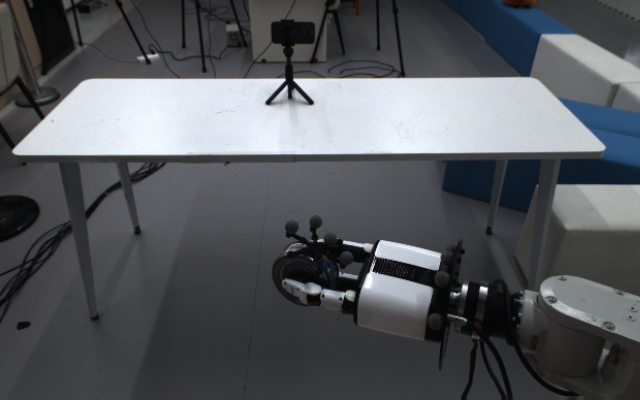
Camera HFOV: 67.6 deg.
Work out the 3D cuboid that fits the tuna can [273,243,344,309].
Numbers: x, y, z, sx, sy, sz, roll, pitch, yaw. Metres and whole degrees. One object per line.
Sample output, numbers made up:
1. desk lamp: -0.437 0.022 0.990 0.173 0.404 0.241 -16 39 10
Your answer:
1. tuna can: -0.016 0.105 0.640 0.085 0.085 0.034 15 31 18
